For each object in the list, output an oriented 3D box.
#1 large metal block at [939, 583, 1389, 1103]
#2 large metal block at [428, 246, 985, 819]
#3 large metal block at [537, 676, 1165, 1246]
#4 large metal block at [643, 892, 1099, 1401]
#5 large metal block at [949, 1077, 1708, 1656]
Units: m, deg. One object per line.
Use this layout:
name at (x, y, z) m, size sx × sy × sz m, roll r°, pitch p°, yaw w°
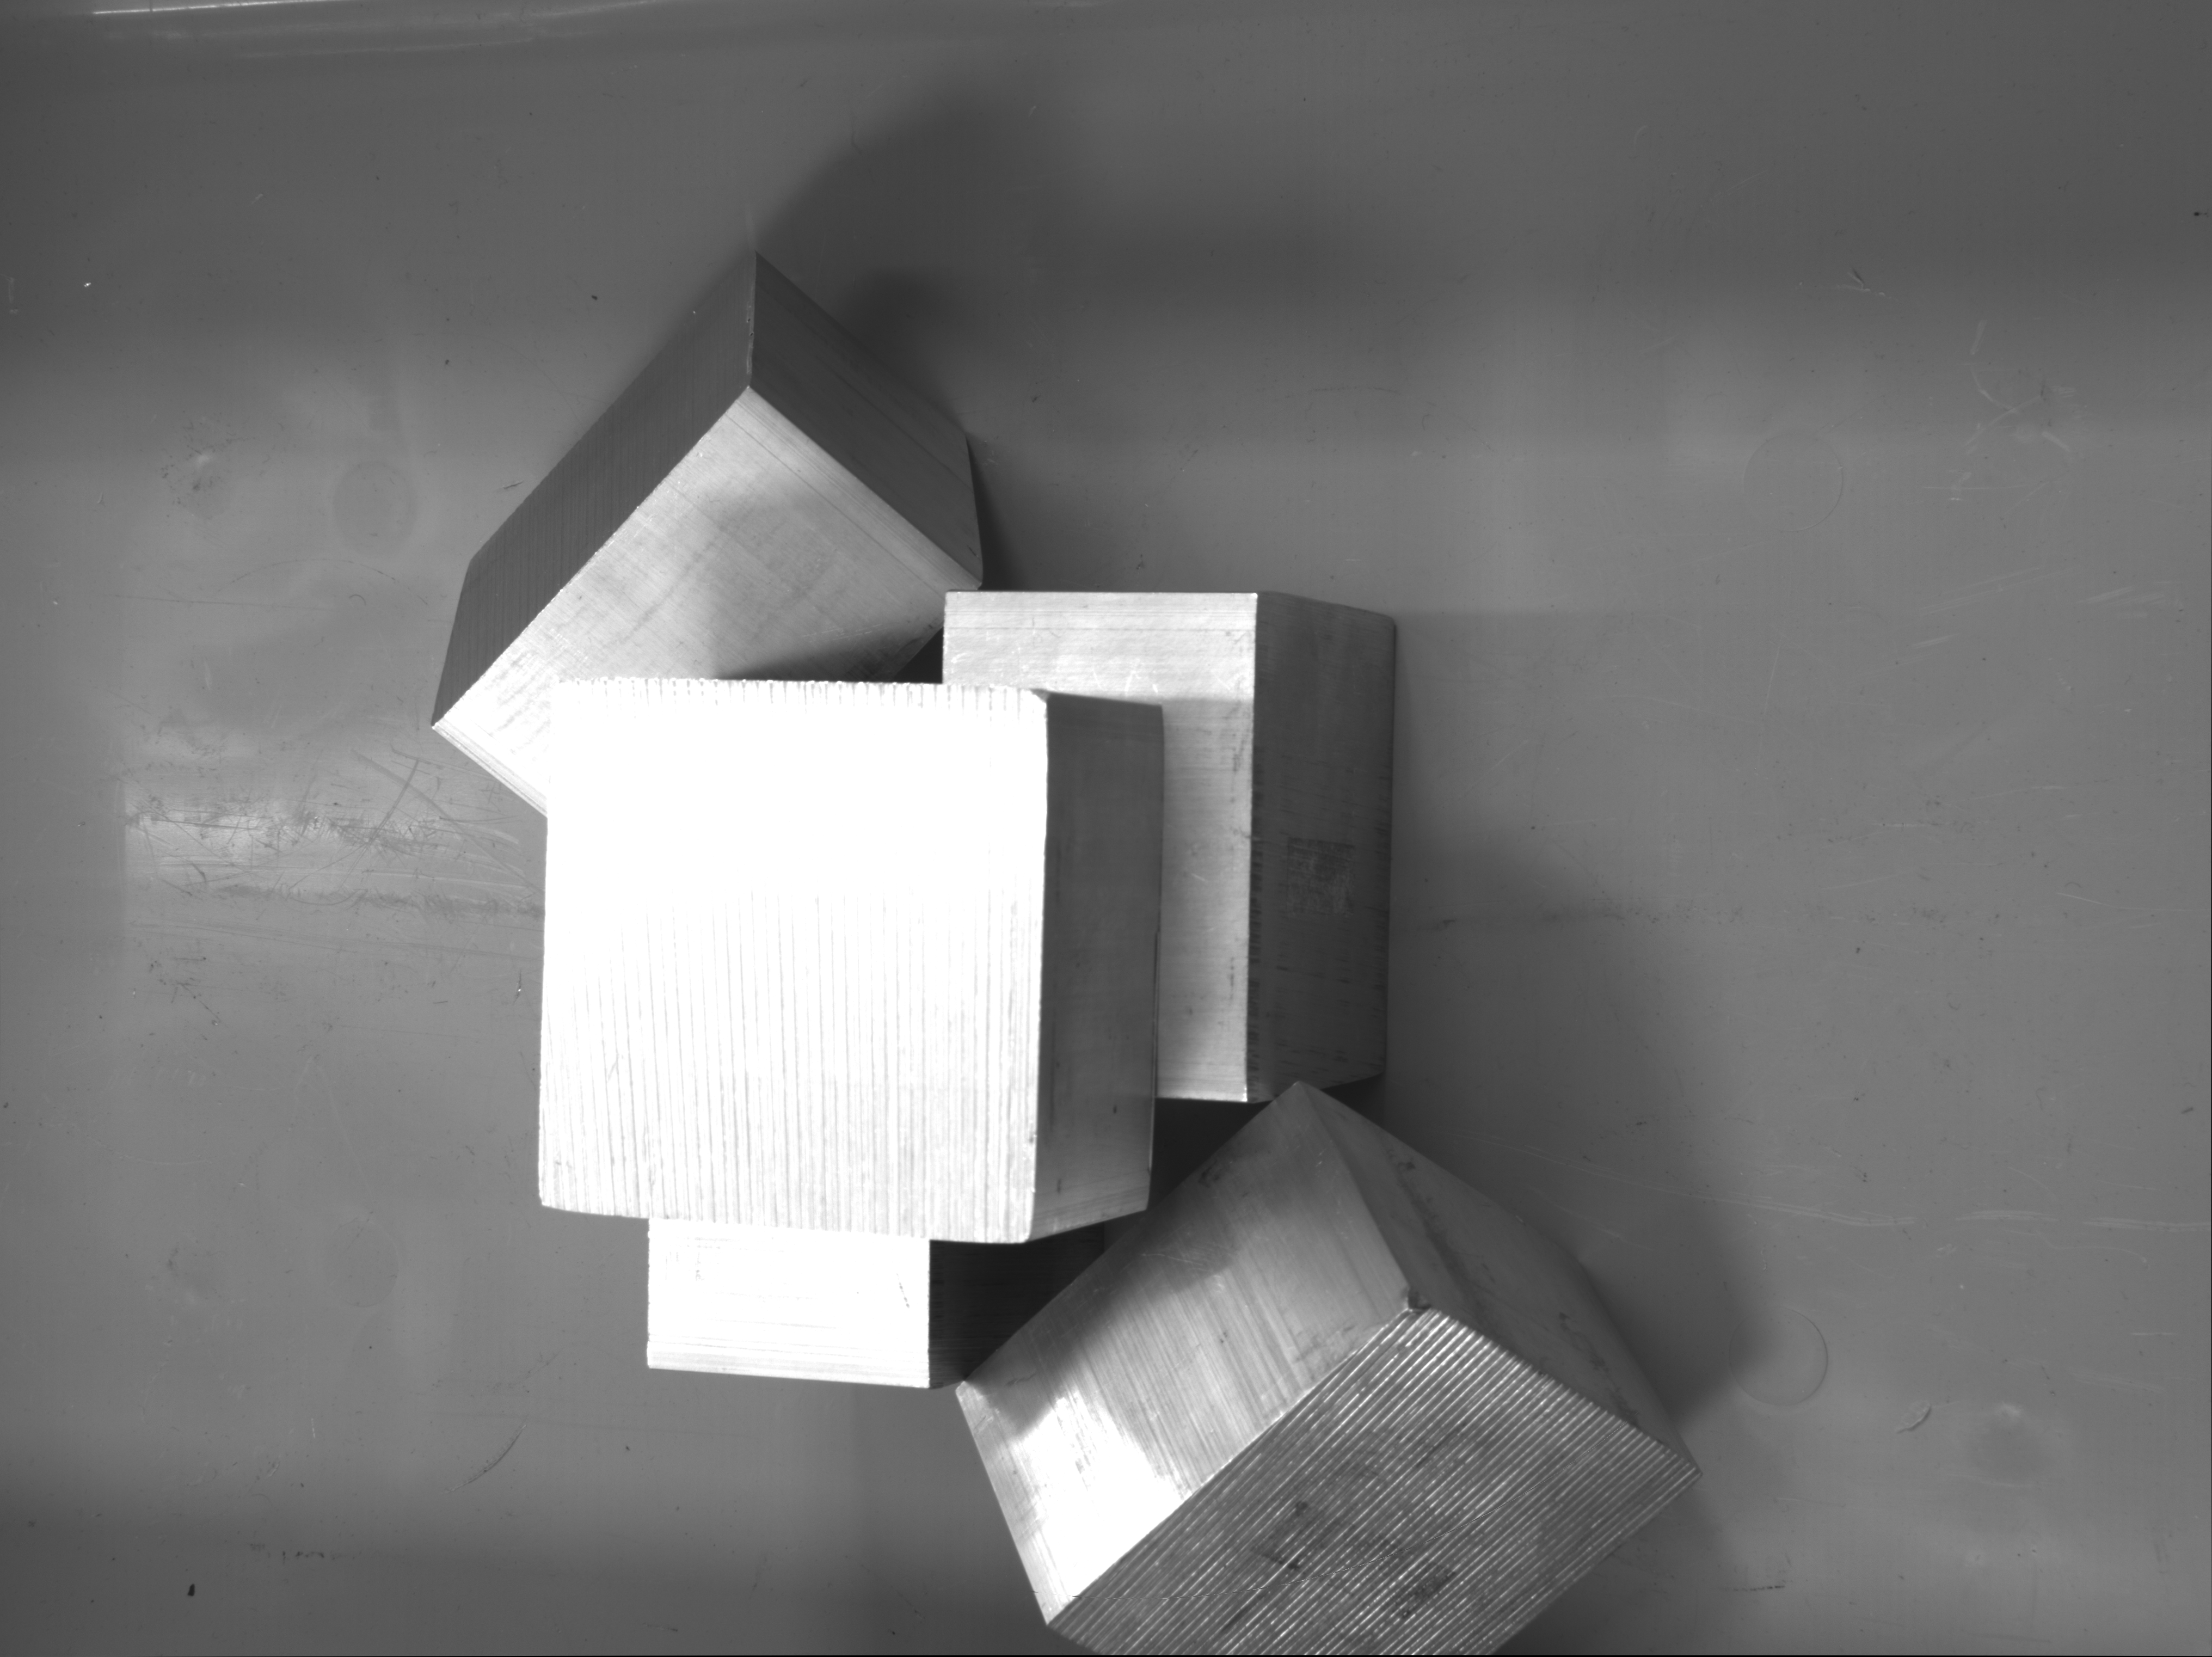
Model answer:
large metal block at (0.011, 0.002, 0.610) m, size 0.050 × 0.080 × 0.080 m, roll 1°, pitch 90°, yaw 20°
large metal block at (-0.068, -0.044, 0.633) m, size 0.050 × 0.080 × 0.080 m, roll 40°, pitch 105°, yaw -20°
large metal block at (-0.038, 0.018, 0.560) m, size 0.080 × 0.050 × 0.080 m, roll 2°, pitch 91°, yaw 20°
large metal block at (-0.038, 0.051, 0.630) m, size 0.050 × 0.080 × 0.080 m, roll 1°, pitch 90°, yaw 20°
large metal block at (0.036, 0.098, 0.595) m, size 0.080 × 0.080 × 0.050 m, roll -43°, pitch 41°, yaw 15°
